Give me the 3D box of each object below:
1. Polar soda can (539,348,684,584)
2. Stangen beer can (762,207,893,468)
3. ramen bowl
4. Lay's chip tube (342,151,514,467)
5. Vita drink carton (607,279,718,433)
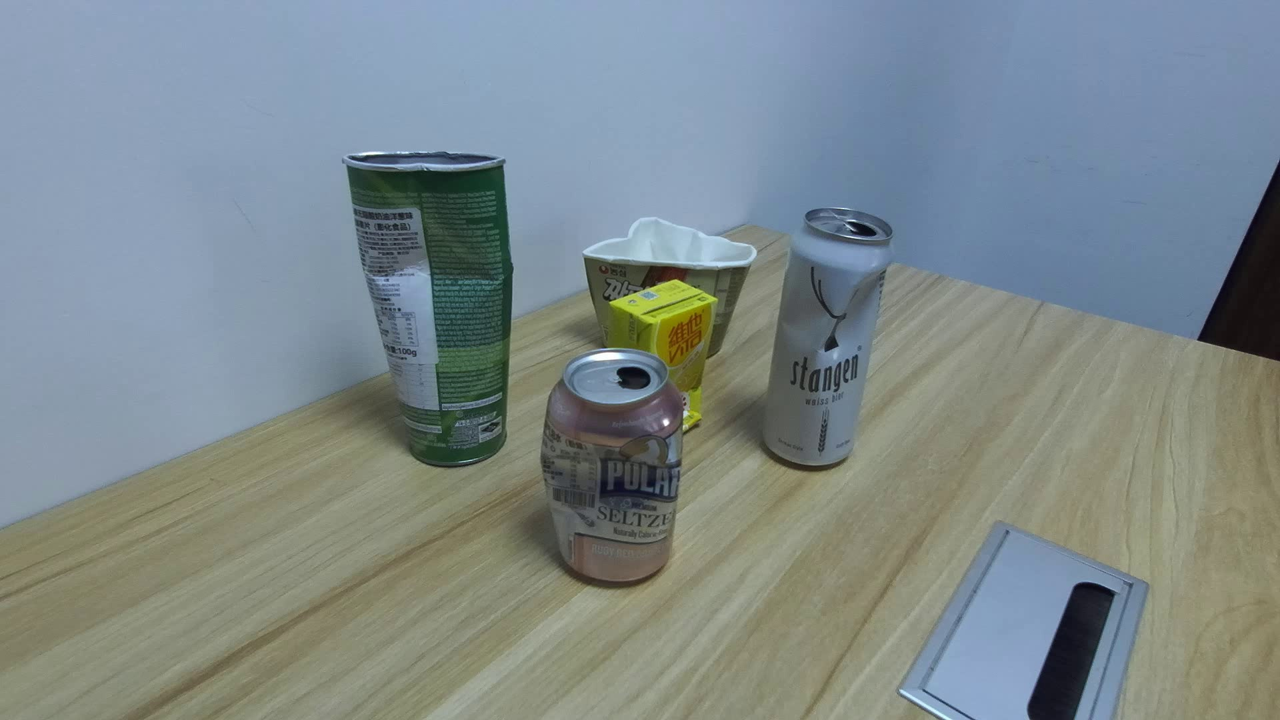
[{"bbox_3d":[-0.011,0.060,0.383,0.067,0.122,0.074,-26,38,-37],"label":"Polar soda can"},{"bbox_3d":[0.124,-0.012,0.467,0.070,0.173,0.069,1,29,-2],"label":"Stangen beer can"},{"bbox_3d":[0.032,-0.060,0.624,0.133,0.097,0.114,13,32,20],"label":"ramen bowl"},{"bbox_3d":[-0.128,-0.030,0.459,0.075,0.199,0.068,-24,40,-39],"label":"Lay's chip tube"},{"bbox_3d":[0.017,0.005,0.494,0.077,0.109,0.043,-24,39,-38],"label":"Vita drink carton"}]
